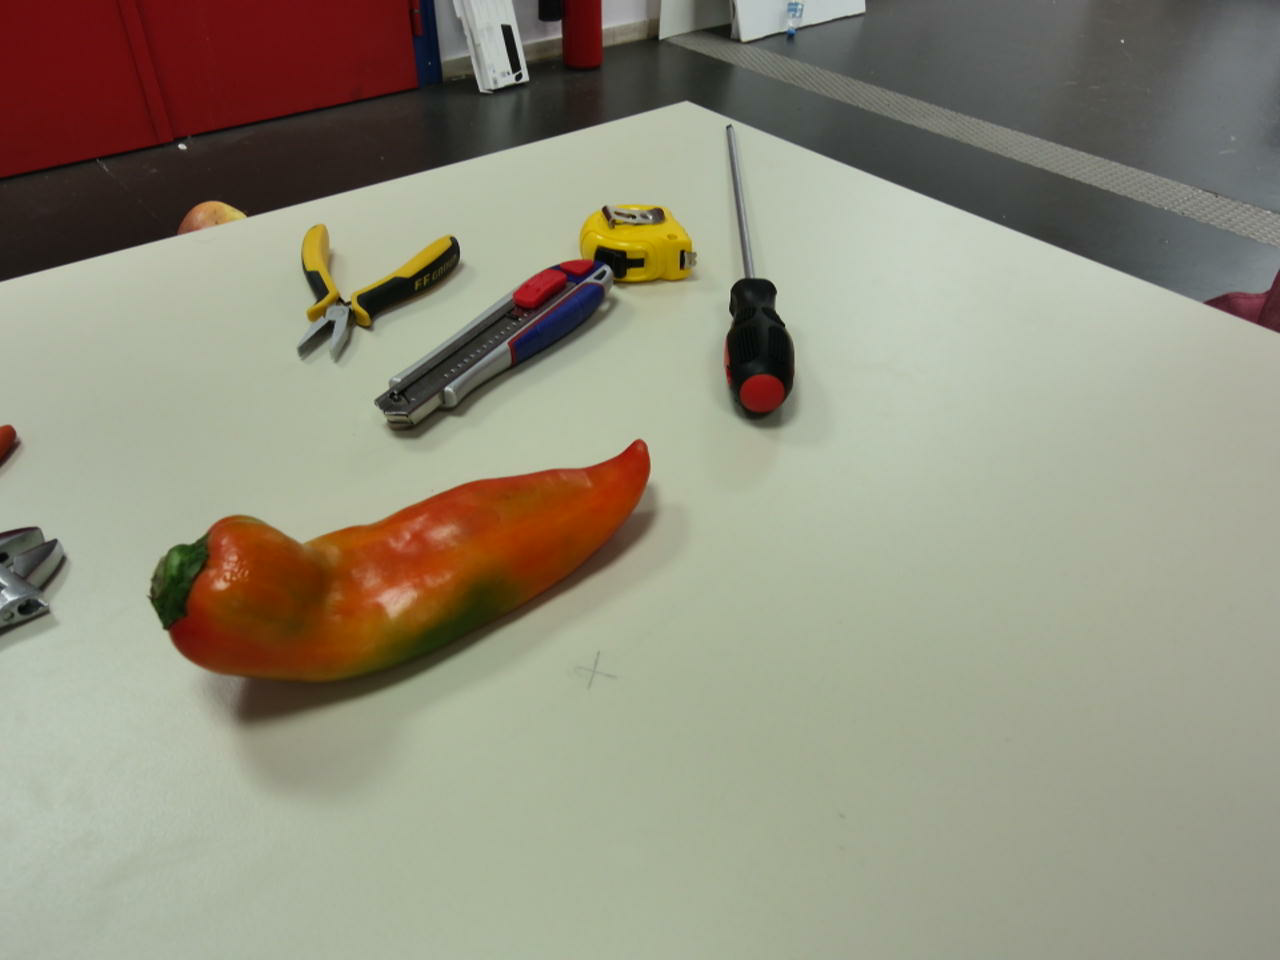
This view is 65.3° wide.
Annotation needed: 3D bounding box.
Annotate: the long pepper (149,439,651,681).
[{"bbox_3d":[-0.075,0.019,0.376,0.199,0.065,0.066,-22,42,-27],"label":"long pepper"}]
